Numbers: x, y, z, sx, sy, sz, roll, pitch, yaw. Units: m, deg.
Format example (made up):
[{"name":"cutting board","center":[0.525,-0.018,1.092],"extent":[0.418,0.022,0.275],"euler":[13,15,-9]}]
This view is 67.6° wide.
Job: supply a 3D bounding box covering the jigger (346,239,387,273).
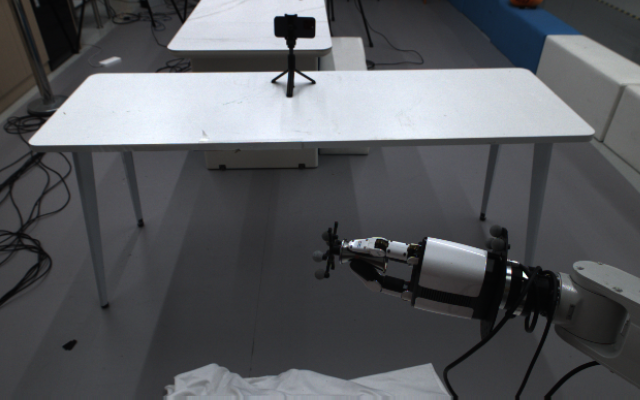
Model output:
[{"name":"jigger","center":[0.073,0.076,0.718],"extent":[0.071,0.043,0.043],"euler":[8,35,14]}]
